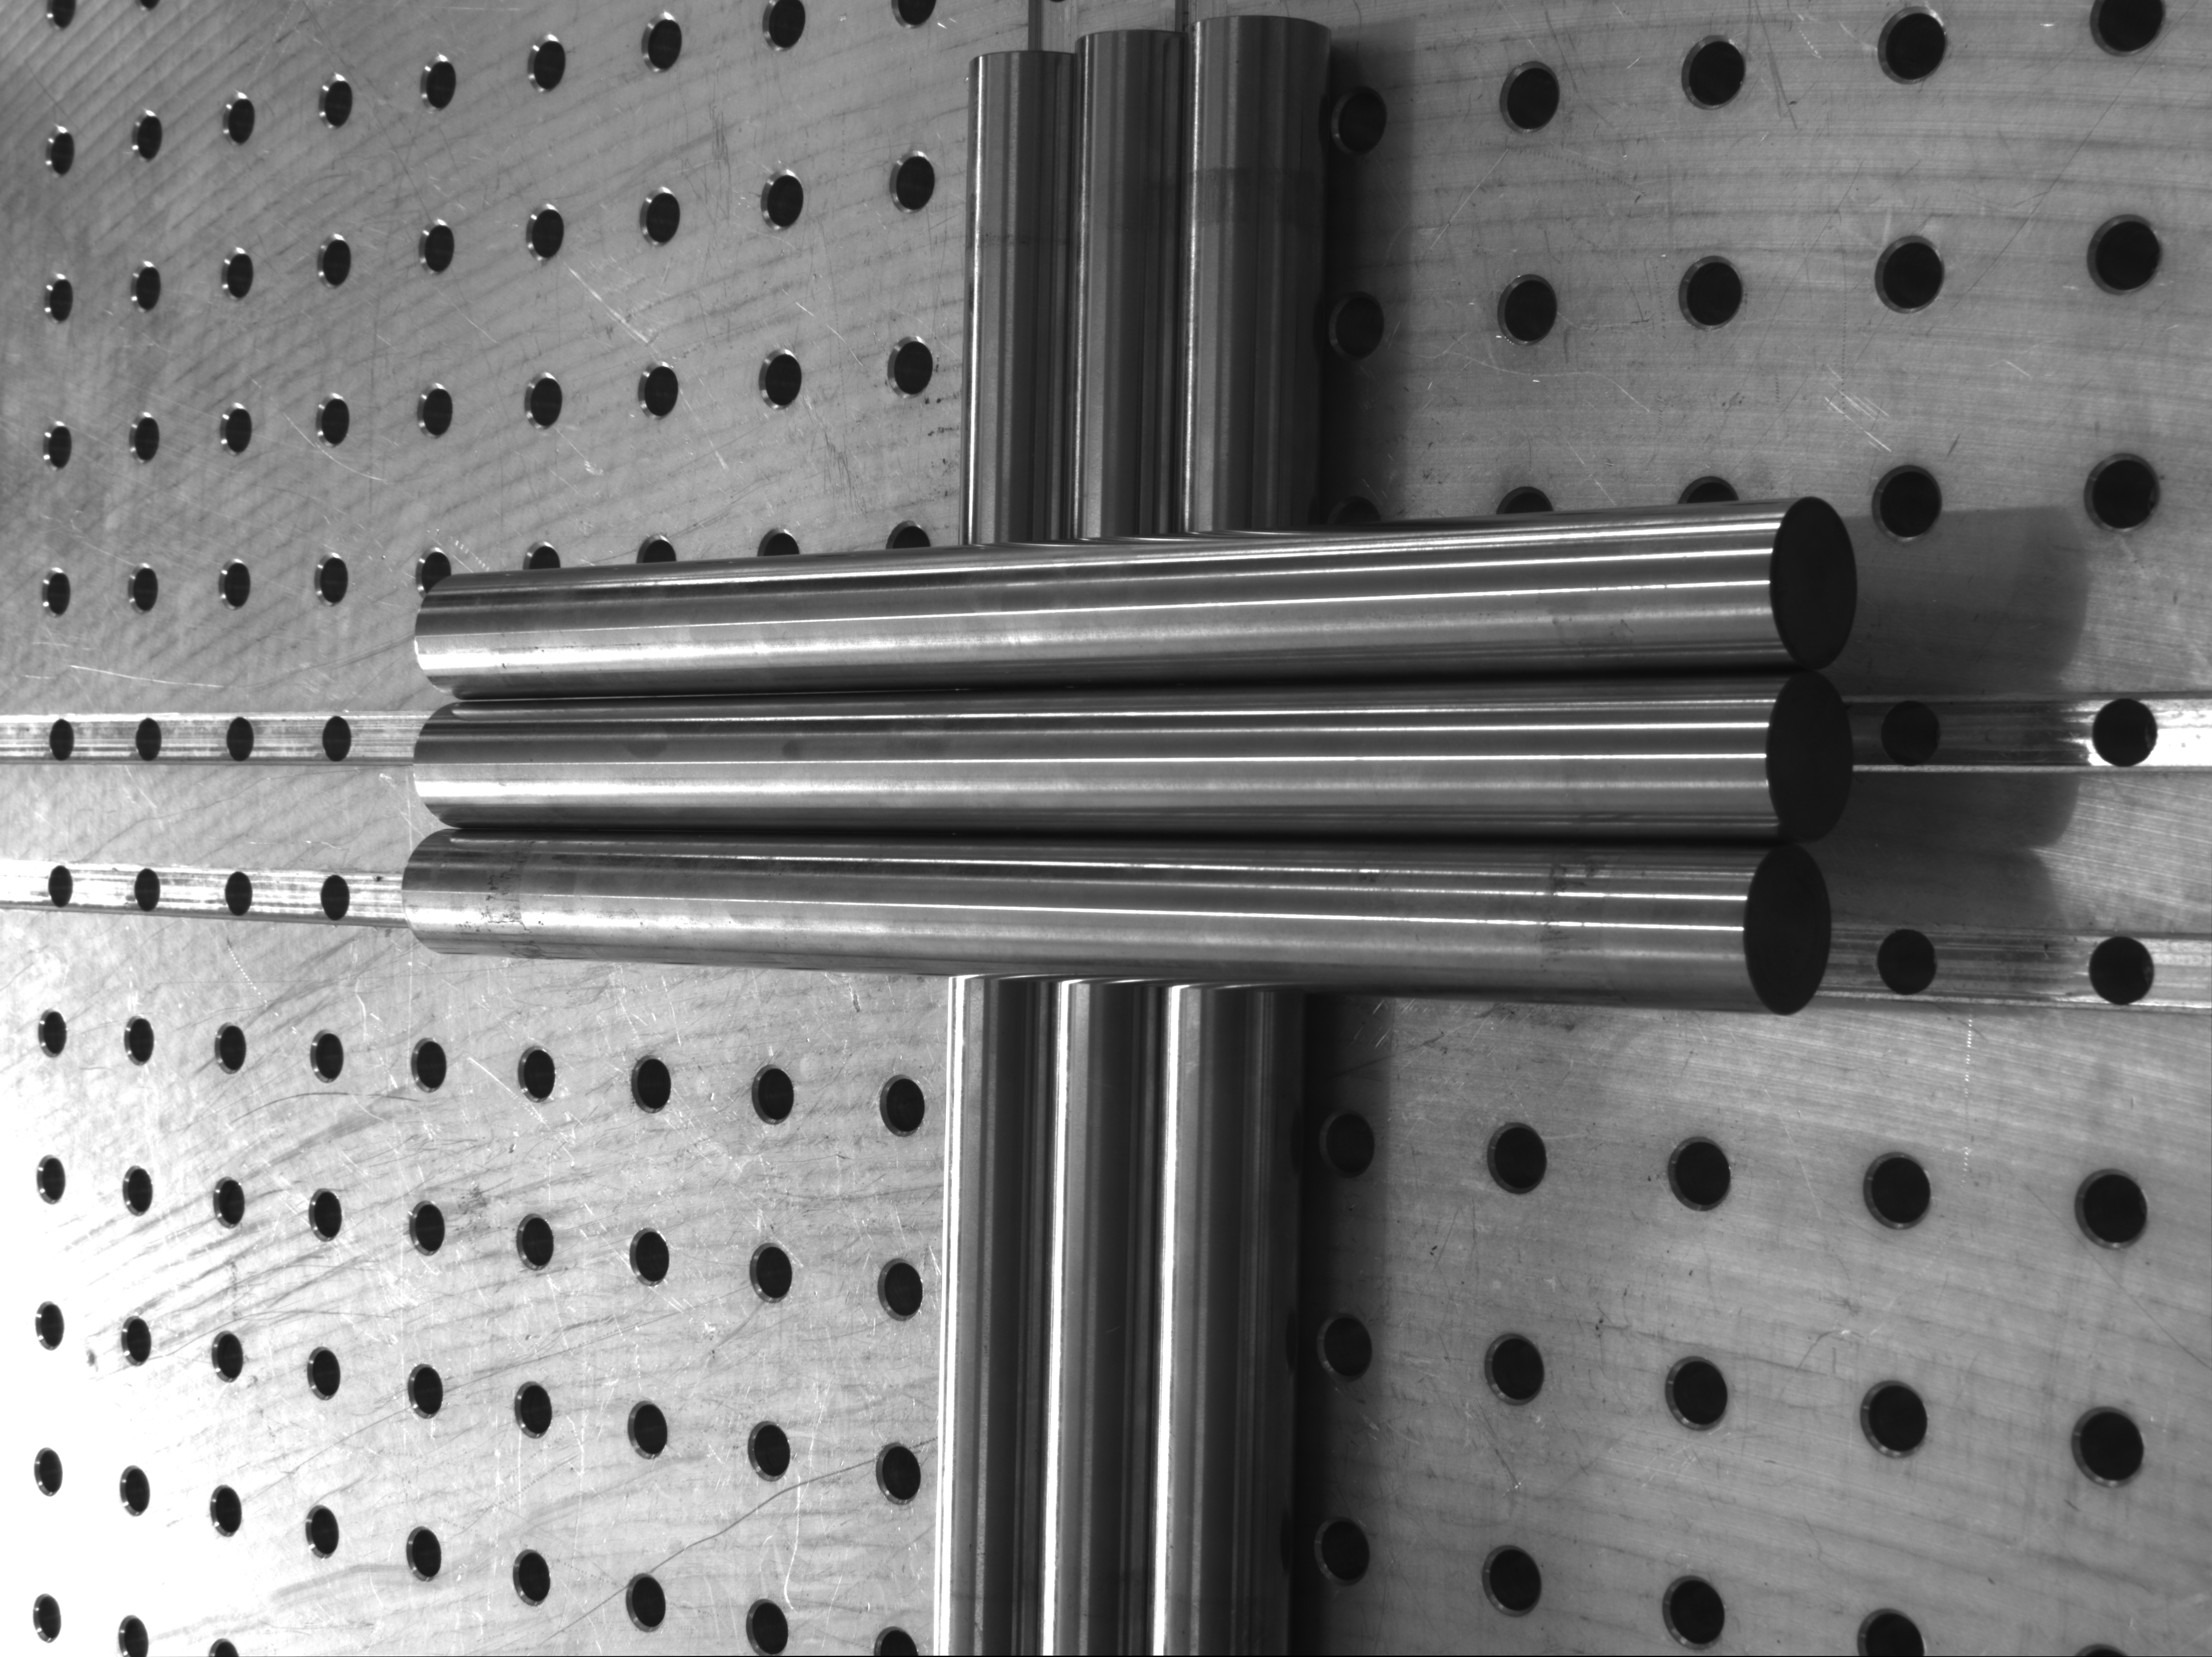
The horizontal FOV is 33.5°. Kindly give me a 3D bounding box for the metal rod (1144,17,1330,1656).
[{"bbox_3d":[0.022,0.014,0.630,0.025,0.025,0.300,2,91,40],"label":"metal rod"}]

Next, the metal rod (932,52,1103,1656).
[{"bbox_3d":[-0.016,0.013,0.662,0.025,0.025,0.300,2,91,40],"label":"metal rod"}]

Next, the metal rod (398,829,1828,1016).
[{"bbox_3d":[-0.016,0.014,0.629,0.299,0.025,0.025,1,90,40],"label":"metal rod"}]

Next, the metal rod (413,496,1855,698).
[{"bbox_3d":[-0.012,-0.037,0.627,0.299,0.025,0.025,1,90,40],"label":"metal rod"}]

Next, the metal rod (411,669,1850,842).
[{"bbox_3d":[-0.013,-0.012,0.627,0.299,0.025,0.025,1,90,40],"label":"metal rod"}]

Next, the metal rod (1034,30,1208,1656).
[{"bbox_3d":[0.003,0.013,0.647,0.025,0.025,0.300,2,91,40],"label":"metal rod"}]
